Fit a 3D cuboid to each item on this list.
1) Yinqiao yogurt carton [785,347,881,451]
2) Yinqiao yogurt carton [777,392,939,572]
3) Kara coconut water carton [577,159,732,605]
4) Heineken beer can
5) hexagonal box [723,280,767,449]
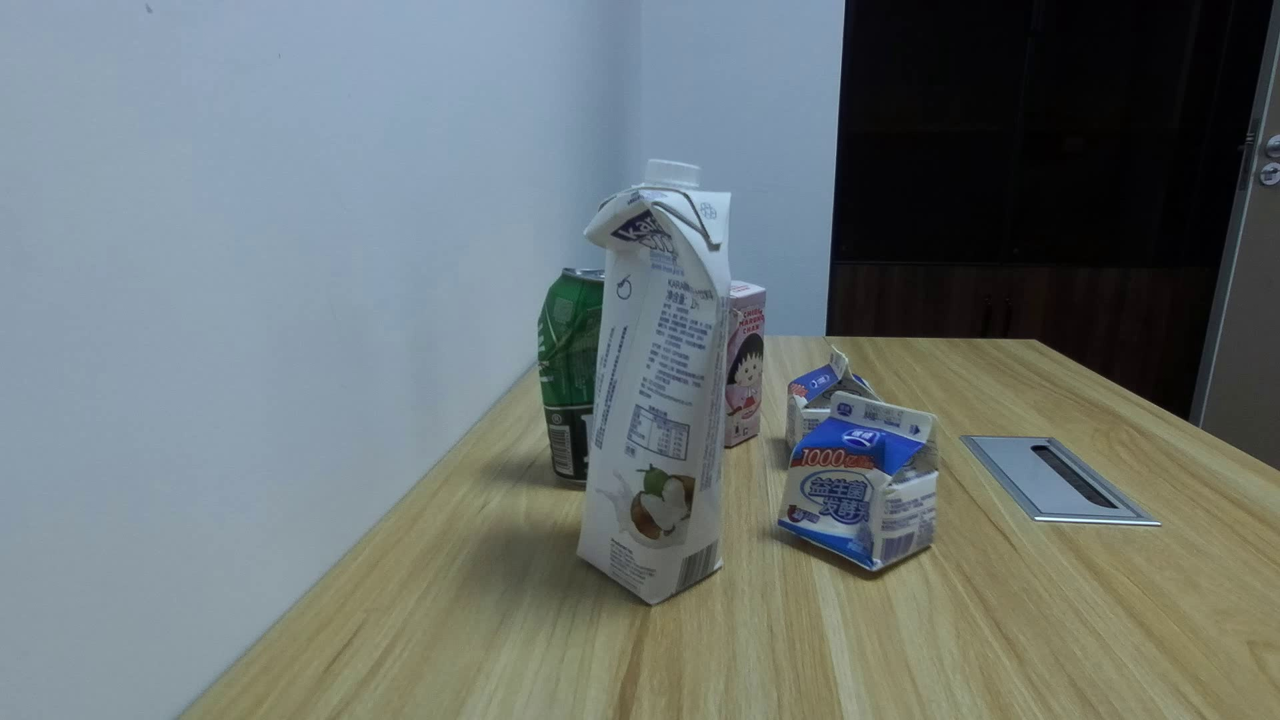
[{"bbox_3d":[0.168,0.037,0.605,0.074,0.092,0.075,0,15,3],"label":"Yinqiao yogurt carton"},{"bbox_3d":[0.142,0.071,0.445,0.071,0.094,0.077,-6,16,-40],"label":"Yinqiao yogurt carton"},{"bbox_3d":[0.009,0.010,0.400,0.070,0.238,0.114,-11,18,-40],"label":"Kara coconut water carton"},{"bbox_3d":[-0.037,0.011,0.545,0.077,0.164,0.066,9,20,14],"label":"Heineken beer can"},{"bbox_3d":[0.066,0.002,0.632,0.083,0.136,0.091,11,18,39],"label":"hexagonal box"}]
